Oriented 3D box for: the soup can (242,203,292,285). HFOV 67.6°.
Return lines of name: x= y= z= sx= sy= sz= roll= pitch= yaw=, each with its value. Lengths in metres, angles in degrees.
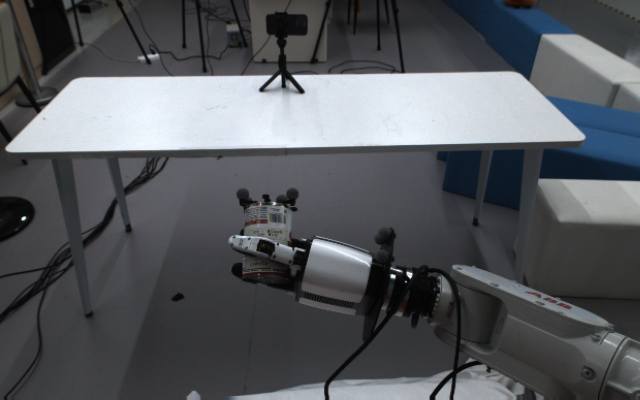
soup can: x=-0.072 y=0.061 z=0.664 sx=0.067 sy=0.067 sz=0.101 roll=1 pitch=73 yaw=-2
